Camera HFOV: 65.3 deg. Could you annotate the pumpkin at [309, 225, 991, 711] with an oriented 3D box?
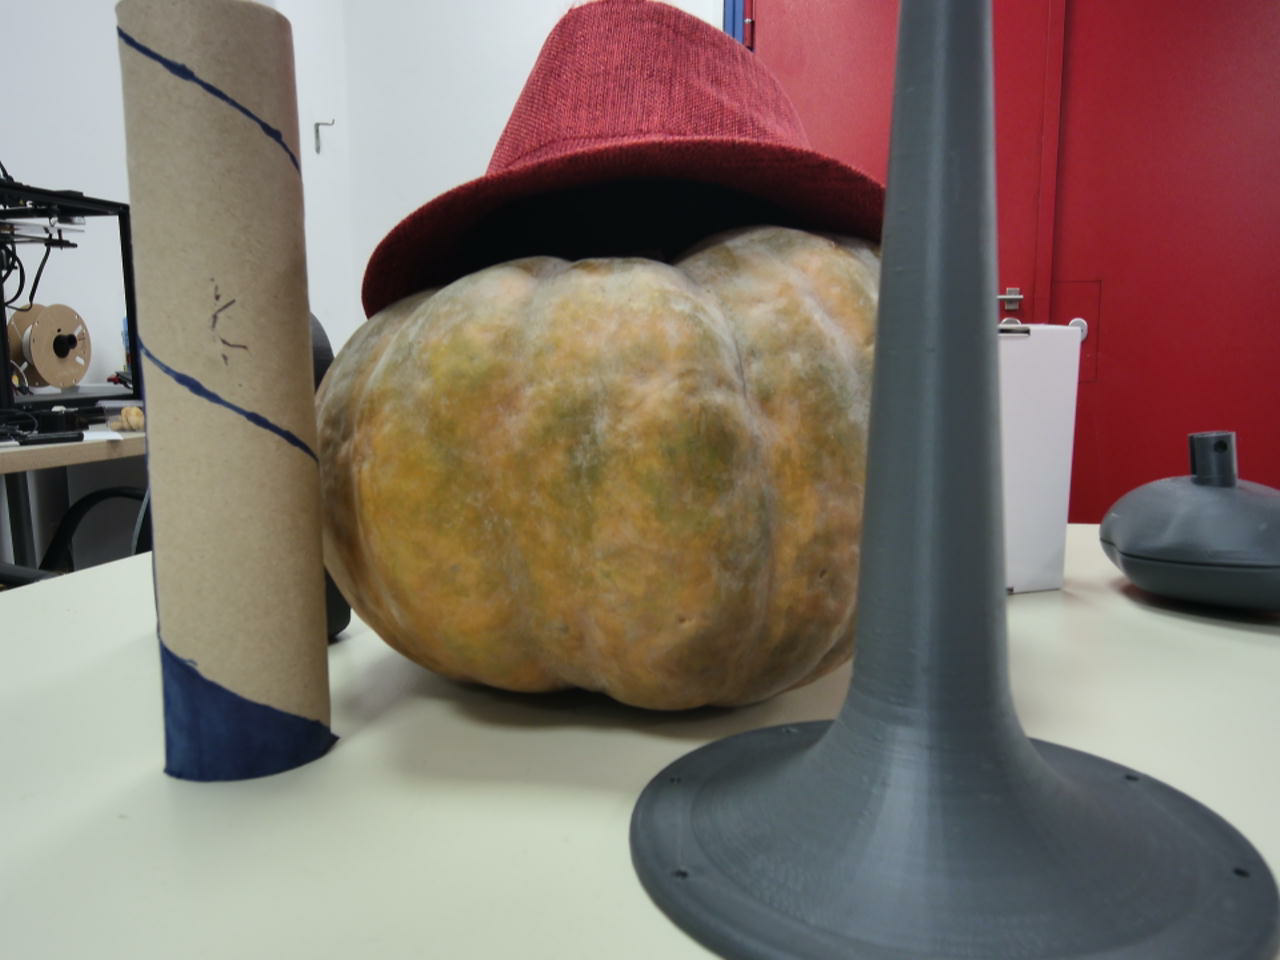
[{"bbox_3d":[-0.002,-0.007,0.390,0.252,0.168,0.252,0,4,0],"label":"pumpkin"}]
